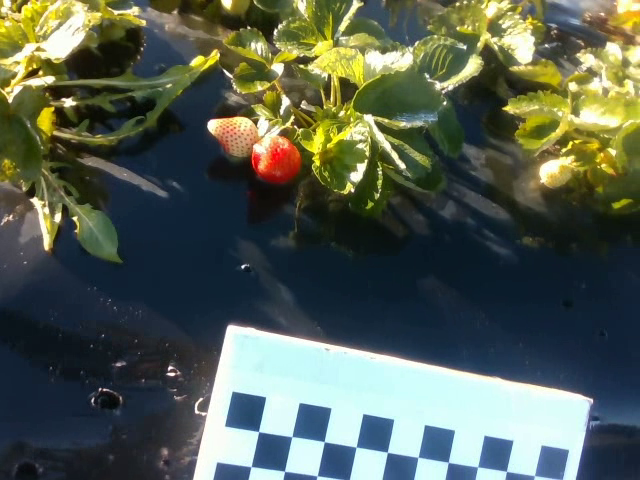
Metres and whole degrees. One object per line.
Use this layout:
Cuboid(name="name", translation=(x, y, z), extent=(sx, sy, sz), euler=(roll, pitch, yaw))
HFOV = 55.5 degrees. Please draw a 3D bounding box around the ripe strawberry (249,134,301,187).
Cuboid(name="ripe strawberry", translation=(-0.033, -0.057, 0.428), extent=(0.040, 0.038, 0.055), euler=(-4, 4, 16))
